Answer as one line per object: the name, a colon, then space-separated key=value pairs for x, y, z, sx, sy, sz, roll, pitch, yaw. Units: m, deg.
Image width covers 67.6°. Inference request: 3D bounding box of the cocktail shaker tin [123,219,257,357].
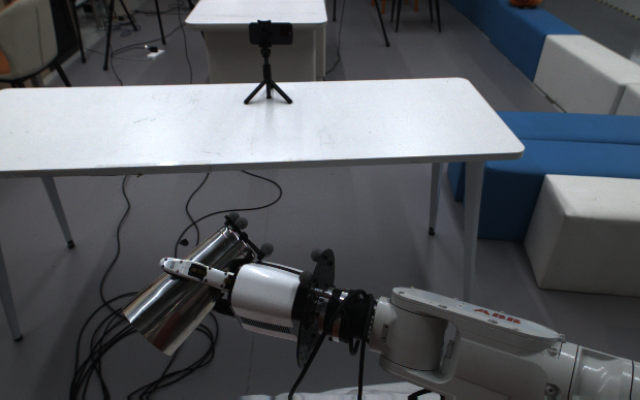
cocktail shaker tin: x=-0.172 y=0.114 z=0.666 sx=0.170 sy=0.093 sz=0.093 roll=-43 pitch=50 yaw=-14
